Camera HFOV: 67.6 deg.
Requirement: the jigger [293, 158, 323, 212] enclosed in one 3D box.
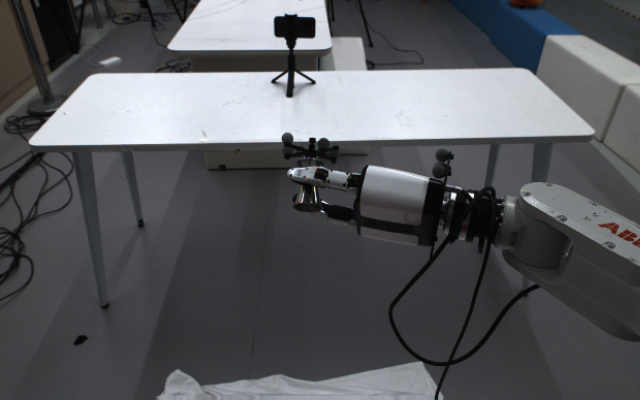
[{"bbox_3d":[-0.017,-0.022,0.686,0.043,0.043,0.071,3,72,1],"label":"jigger"}]
